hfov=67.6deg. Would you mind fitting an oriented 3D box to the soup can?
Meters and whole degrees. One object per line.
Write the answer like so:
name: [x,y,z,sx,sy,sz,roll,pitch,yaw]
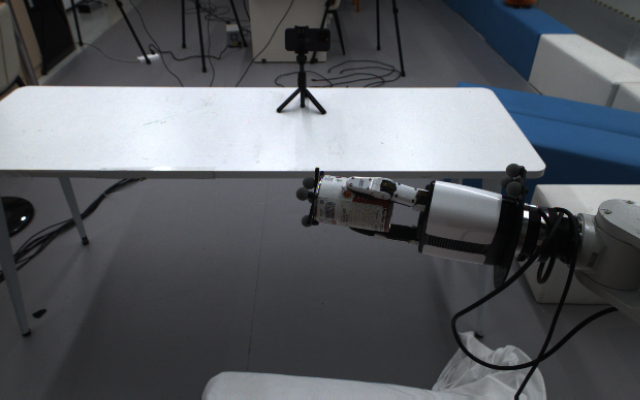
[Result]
soup can: [0.050,0.004,0.659,0.101,0.067,0.067,8,35,9]
